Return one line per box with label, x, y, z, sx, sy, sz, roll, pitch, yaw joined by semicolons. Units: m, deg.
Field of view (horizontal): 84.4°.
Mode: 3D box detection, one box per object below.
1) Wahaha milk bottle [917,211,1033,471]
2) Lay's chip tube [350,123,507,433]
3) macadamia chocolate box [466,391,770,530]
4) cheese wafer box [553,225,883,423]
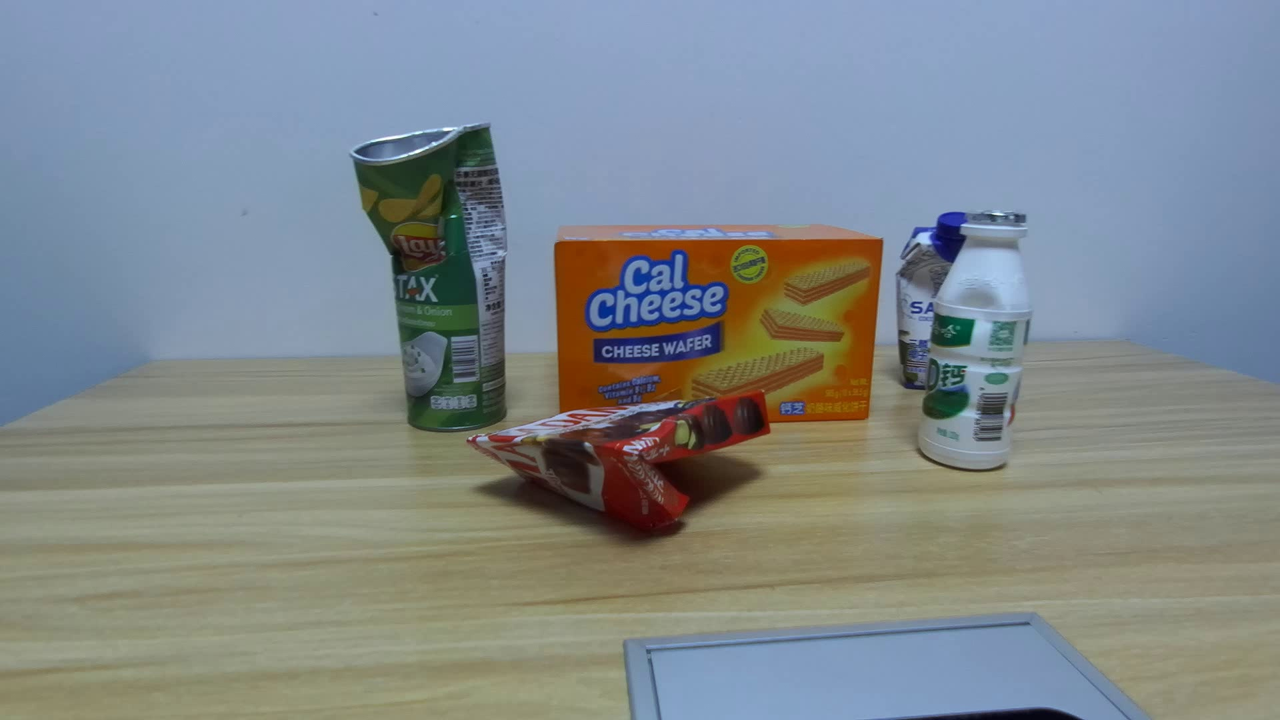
Wahaha milk bottle;0.196;-0.005;0.414;0.053;0.136;0.053;2;14;0
Lay's chip tube;-0.132;-0.050;0.468;0.079;0.199;0.071;2;23;10
macadamia chocolate box;-0.006;0.043;0.380;0.111;0.056;0.127;13;19;38
cheese wafer box;0.049;-0.034;0.536;0.222;0.129;0.148;-1;15;-5
